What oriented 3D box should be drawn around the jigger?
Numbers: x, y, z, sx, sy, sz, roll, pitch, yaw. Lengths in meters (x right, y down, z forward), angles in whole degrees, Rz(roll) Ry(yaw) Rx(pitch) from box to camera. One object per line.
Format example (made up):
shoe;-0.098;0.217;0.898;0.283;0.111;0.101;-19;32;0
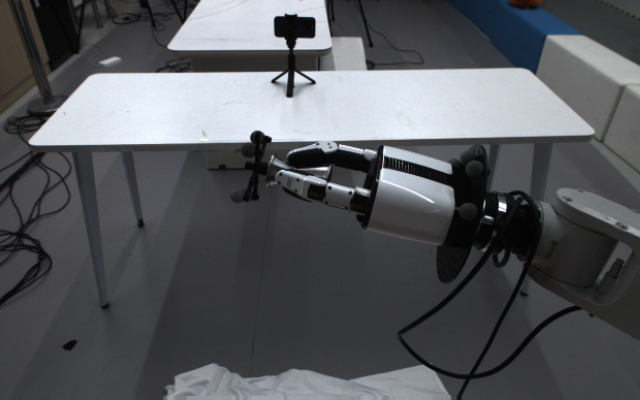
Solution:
jigger;-0.016;-0.029;0.551;0.071;0.043;0.043;12;36;5
